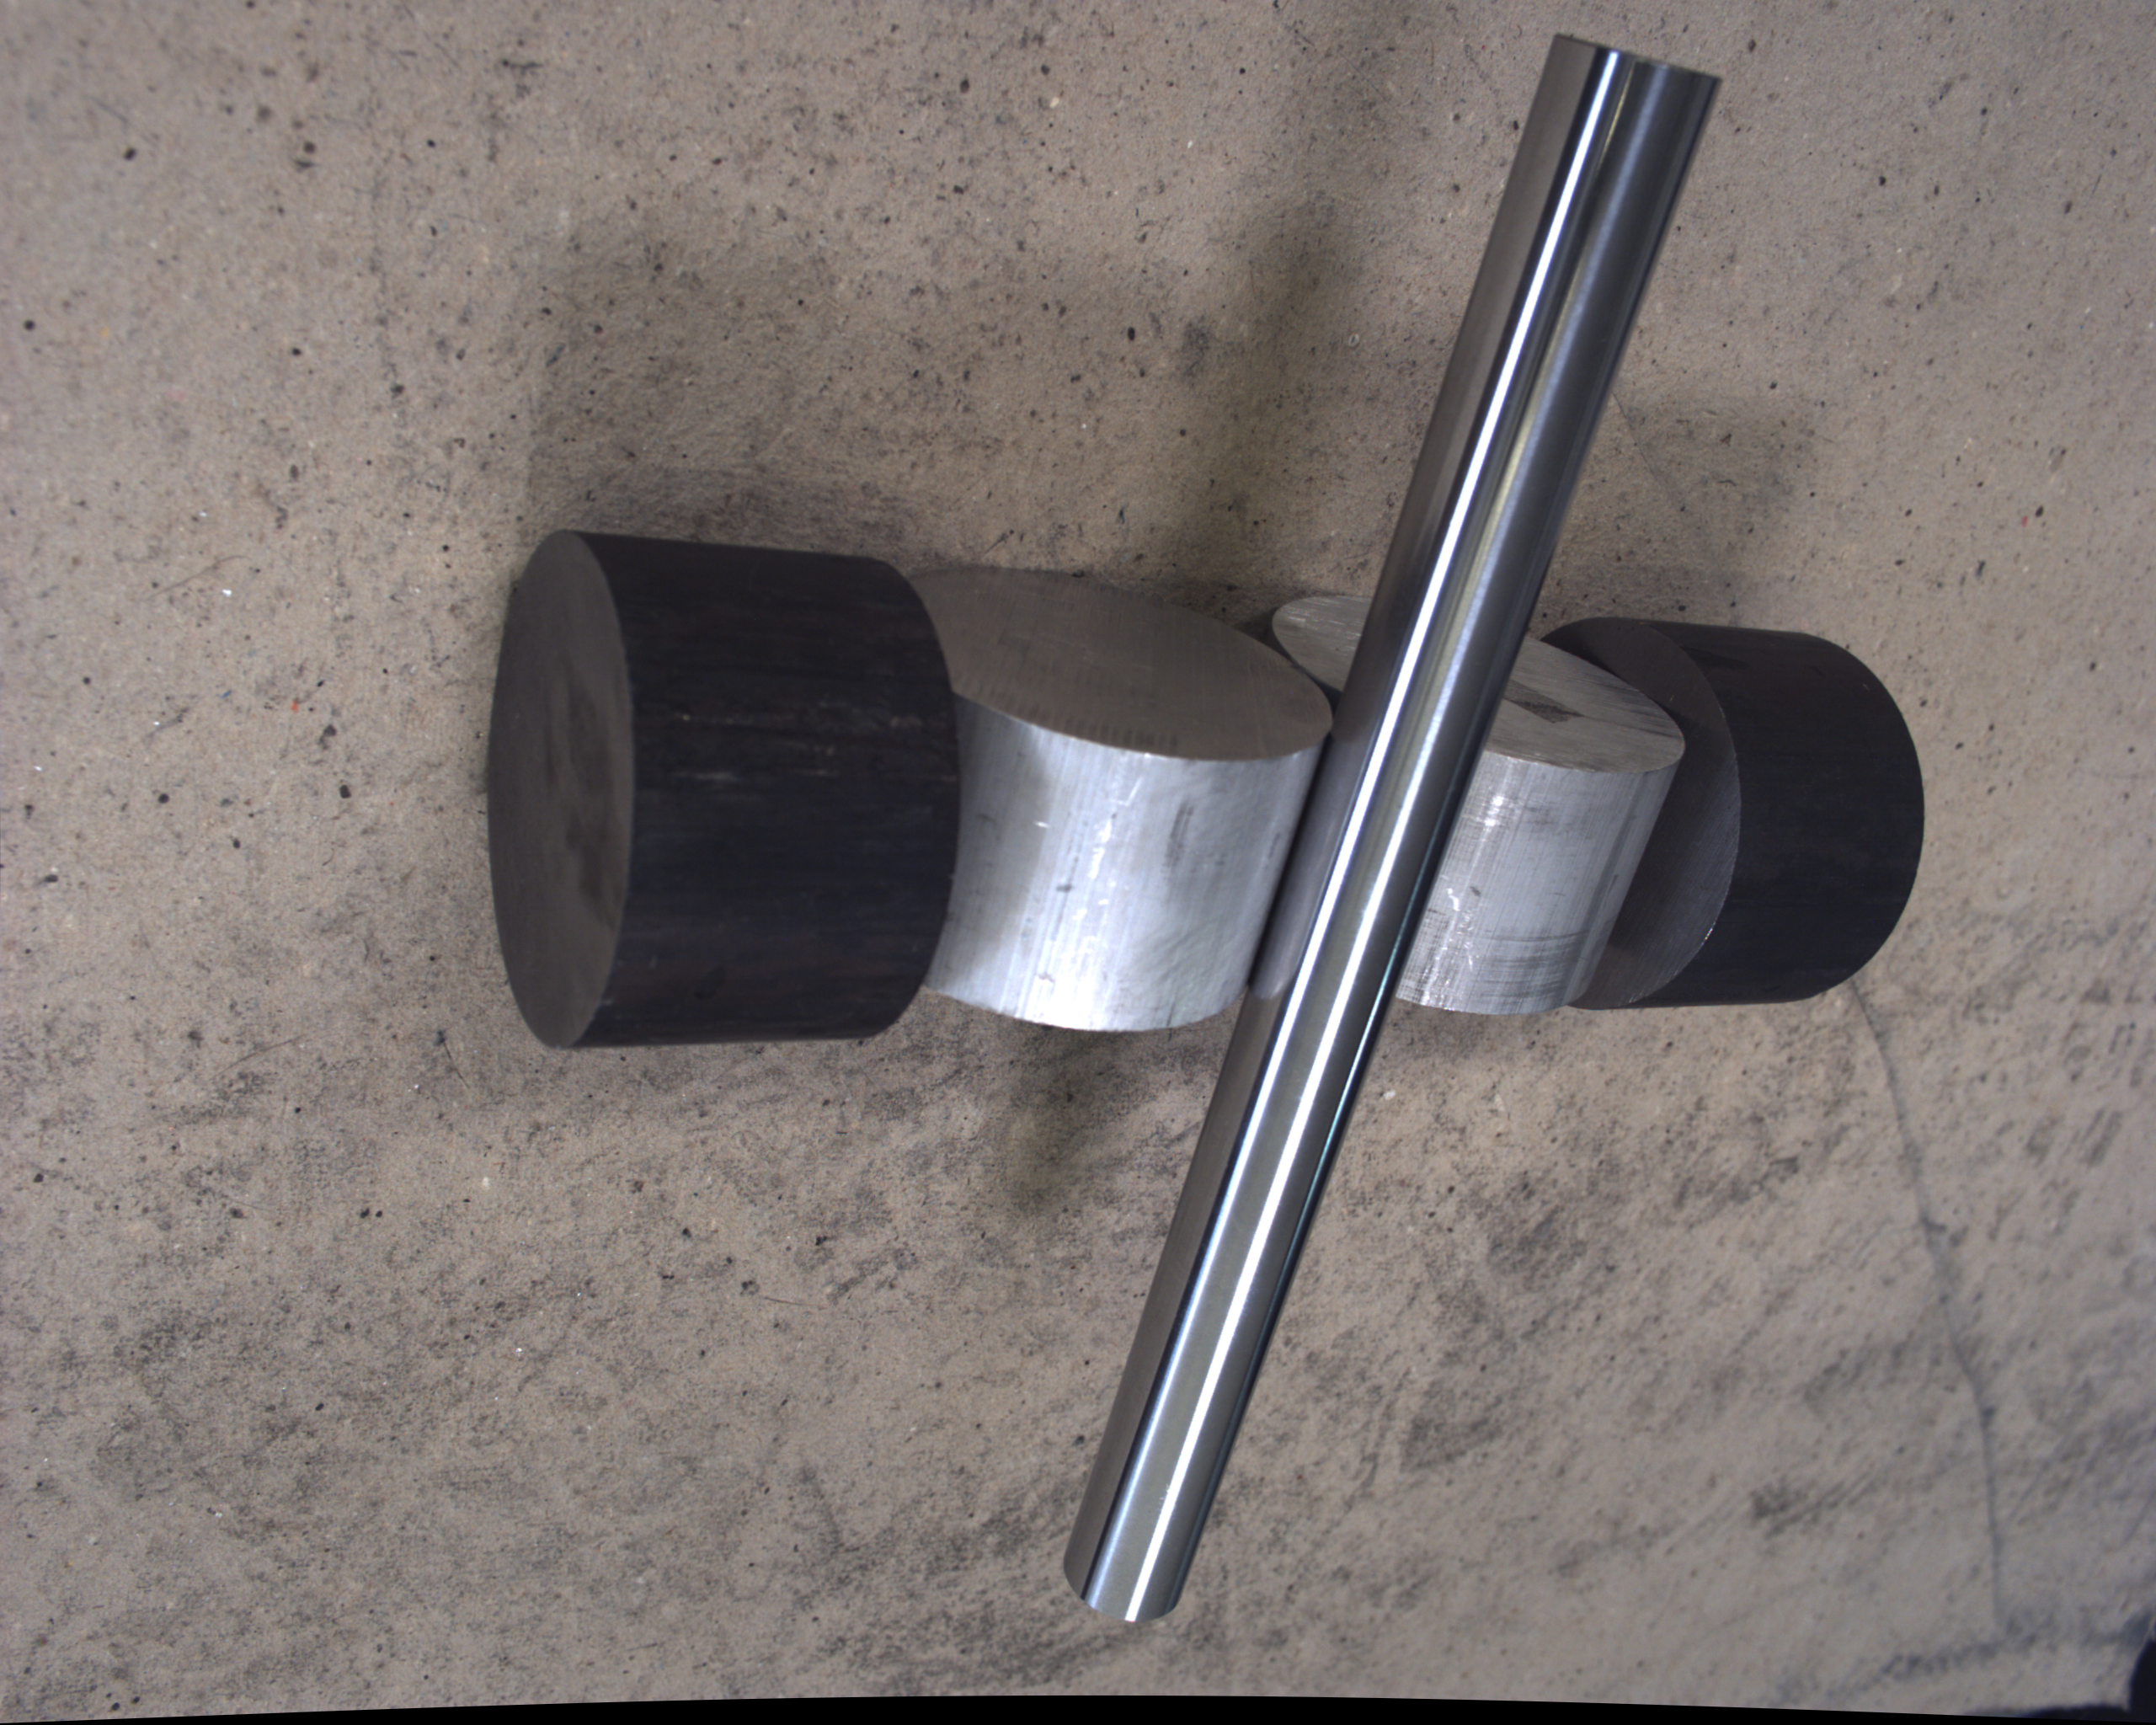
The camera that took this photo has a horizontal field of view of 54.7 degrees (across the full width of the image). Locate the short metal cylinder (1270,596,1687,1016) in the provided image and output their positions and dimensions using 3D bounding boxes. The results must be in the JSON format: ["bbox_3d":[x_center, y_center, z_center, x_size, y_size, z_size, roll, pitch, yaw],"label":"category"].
[{"bbox_3d":[0.069,-0.013,0.402,0.081,0.080,0.050,1,118,-29],"label":"short metal cylinder"}]

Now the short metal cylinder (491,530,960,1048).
[{"bbox_3d":[-0.059,-0.011,0.334,0.050,0.080,0.079,1,118,-29],"label":"short metal cylinder"}]

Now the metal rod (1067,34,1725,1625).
[{"bbox_3d":[0.045,0.014,0.362,0.025,0.025,0.298,1,118,-29],"label":"metal rod"}]

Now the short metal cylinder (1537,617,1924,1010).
[{"bbox_3d":[0.126,-0.010,0.436,0.050,0.080,0.079,1,118,-29],"label":"short metal cylinder"}]

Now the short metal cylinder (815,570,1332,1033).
[{"bbox_3d":[-0.001,-0.013,0.364,0.081,0.080,0.050,1,118,-29],"label":"short metal cylinder"}]
